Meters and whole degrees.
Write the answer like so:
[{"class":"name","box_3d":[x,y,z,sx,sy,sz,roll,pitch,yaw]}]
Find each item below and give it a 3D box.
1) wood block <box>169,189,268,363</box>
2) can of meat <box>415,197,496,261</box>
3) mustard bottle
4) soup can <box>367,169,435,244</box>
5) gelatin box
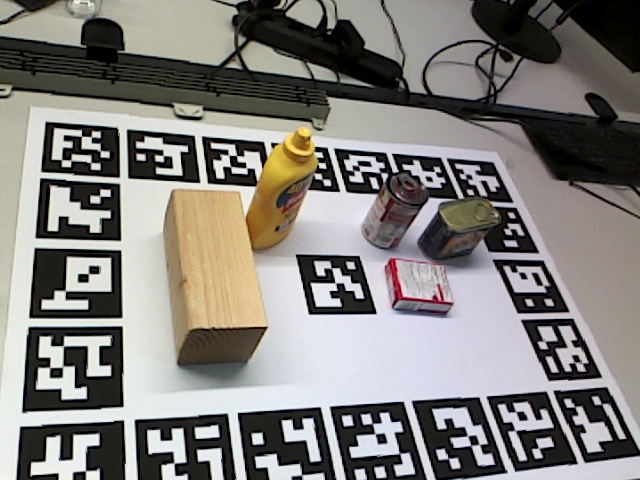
[{"class":"wood block","box_3d":[-0.133,0.041,0.772,0.090,0.090,0.207,4,47,-22]},{"class":"can of meat","box_3d":[0.209,-0.016,0.969,0.101,0.084,0.058,-10,57,-32]},{"class":"mustard bottle","box_3d":[-0.049,-0.068,0.836,0.096,0.191,0.059,-23,63,-37]},{"class":"soup can","box_3d":[0.120,-0.048,0.933,0.067,0.102,0.068,11,51,-14]},{"class":"gelatin box","box_3d":[0.150,0.069,0.902,0.089,0.030,0.073,9,51,-13]}]
